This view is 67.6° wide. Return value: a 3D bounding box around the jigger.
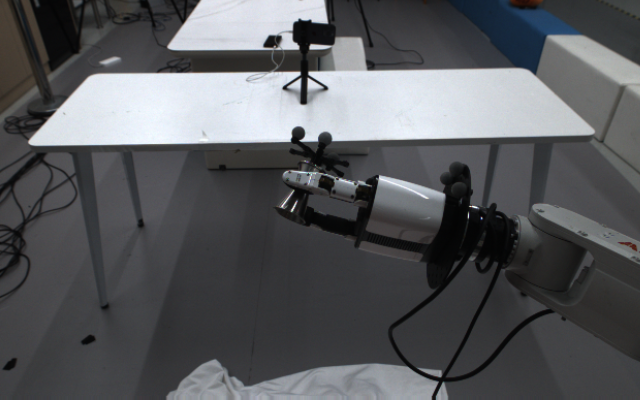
[{"bbox_3d":[-0.024,-0.012,0.598,0.043,0.043,0.071,19,72,23],"label":"jigger"}]
